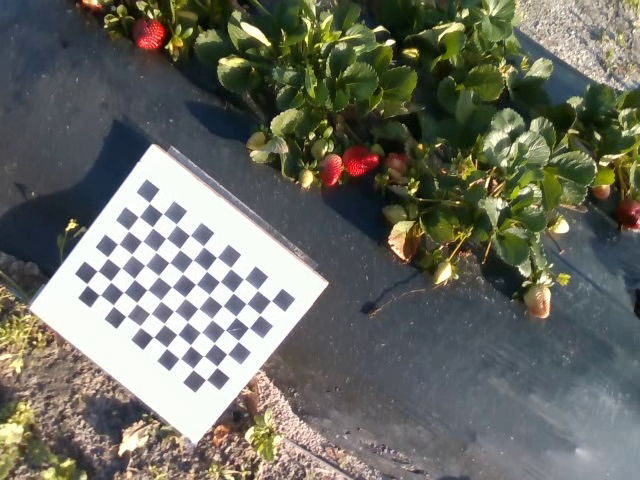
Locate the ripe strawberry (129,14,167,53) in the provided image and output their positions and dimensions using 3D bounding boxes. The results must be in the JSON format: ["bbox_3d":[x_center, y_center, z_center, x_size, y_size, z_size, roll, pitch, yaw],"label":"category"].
[{"bbox_3d":[-0.236,-0.275,0.864,0.052,0.041,0.052,8,37,1],"label":"ripe strawberry"}]
